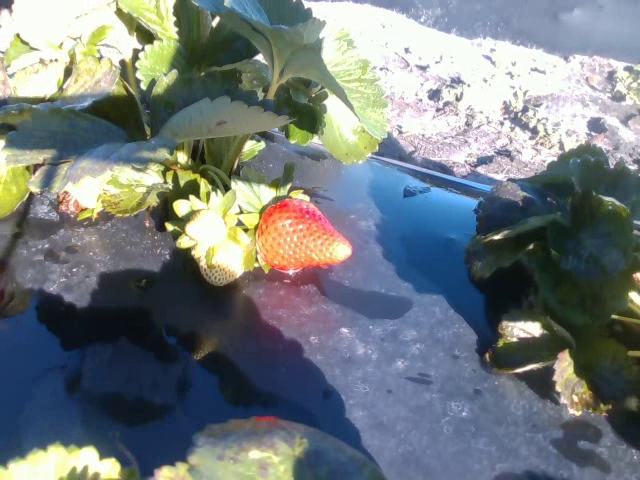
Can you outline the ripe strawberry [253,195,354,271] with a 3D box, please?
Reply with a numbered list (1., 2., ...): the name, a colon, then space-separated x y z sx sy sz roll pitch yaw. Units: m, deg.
1. ripe strawberry: -0.006 0.001 0.332 0.064 0.049 0.052 19 -19 31
